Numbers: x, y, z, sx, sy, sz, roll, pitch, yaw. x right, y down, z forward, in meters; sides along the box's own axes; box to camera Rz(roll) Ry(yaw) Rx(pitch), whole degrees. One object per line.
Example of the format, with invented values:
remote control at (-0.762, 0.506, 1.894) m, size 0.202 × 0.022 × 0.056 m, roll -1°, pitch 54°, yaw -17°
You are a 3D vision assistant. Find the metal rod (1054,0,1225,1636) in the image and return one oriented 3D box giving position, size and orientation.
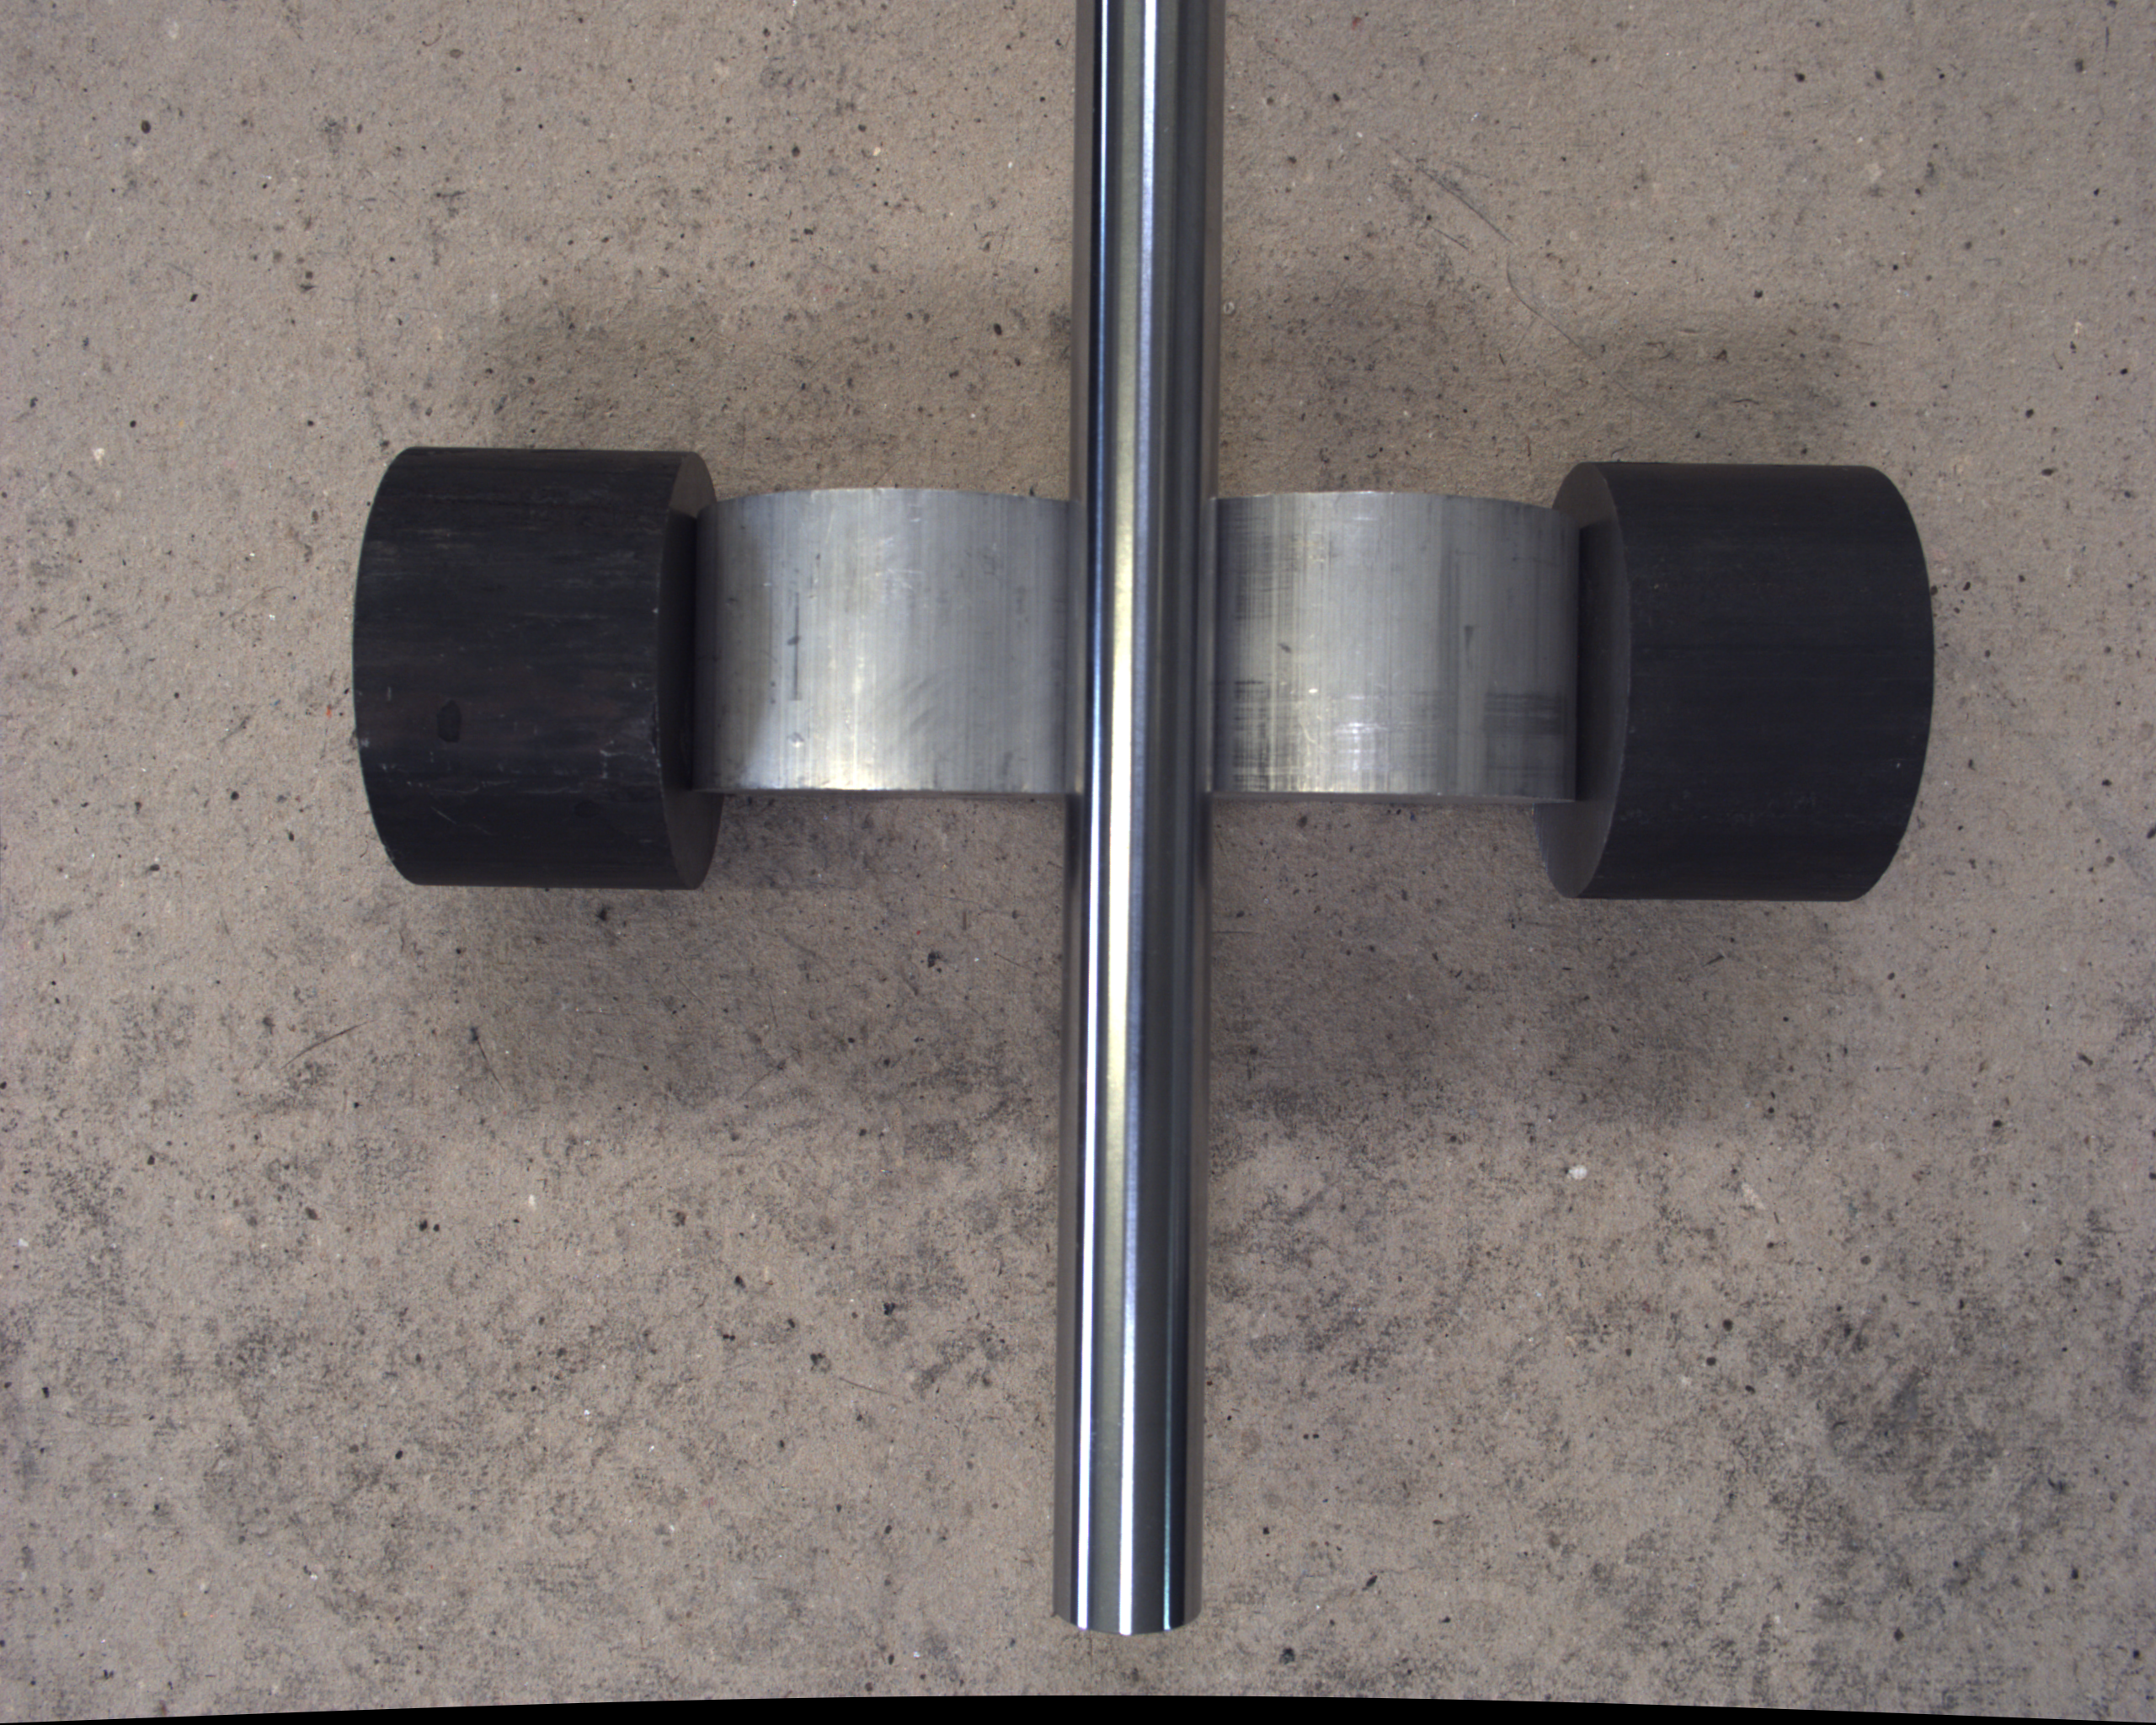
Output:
metal rod at (0.010, -0.024, 0.350) m, size 0.025 × 0.025 × 0.298 m, roll 1°, pitch 90°, yaw 0°

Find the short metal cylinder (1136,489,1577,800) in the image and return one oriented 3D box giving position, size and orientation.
short metal cylinder at (0.050, -0.037, 0.384) m, size 0.081 × 0.080 × 0.050 m, roll 1°, pitch 90°, yaw 0°

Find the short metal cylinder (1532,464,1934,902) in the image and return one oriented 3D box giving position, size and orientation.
short metal cylinder at (0.116, -0.033, 0.385) m, size 0.050 × 0.080 × 0.080 m, roll 1°, pitch 90°, yaw 0°

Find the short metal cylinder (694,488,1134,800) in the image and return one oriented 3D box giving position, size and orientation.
short metal cylinder at (-0.030, -0.037, 0.383) m, size 0.081 × 0.080 × 0.050 m, roll 1°, pitch 90°, yaw 0°

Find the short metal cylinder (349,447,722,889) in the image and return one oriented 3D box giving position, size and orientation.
short metal cylinder at (-0.095, -0.035, 0.383) m, size 0.050 × 0.080 × 0.080 m, roll 1°, pitch 90°, yaw 0°
